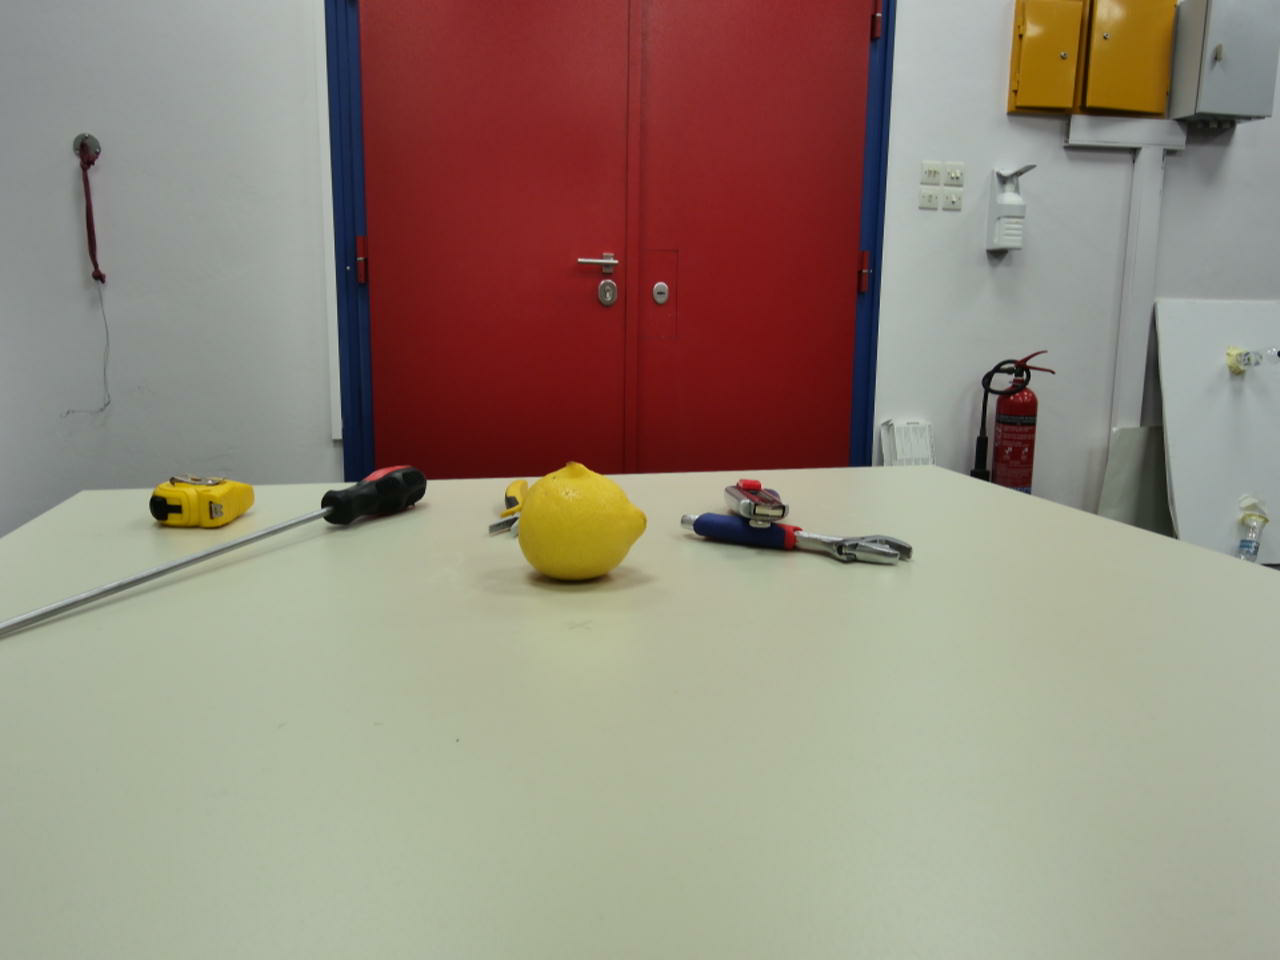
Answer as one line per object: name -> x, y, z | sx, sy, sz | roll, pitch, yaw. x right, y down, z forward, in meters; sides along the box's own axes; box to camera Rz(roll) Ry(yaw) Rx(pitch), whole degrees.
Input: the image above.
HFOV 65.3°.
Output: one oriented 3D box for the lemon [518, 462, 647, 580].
lemon -> -0.039, 0.024, 0.603 | 0.071, 0.071, 0.070 | 7, 11, 43
